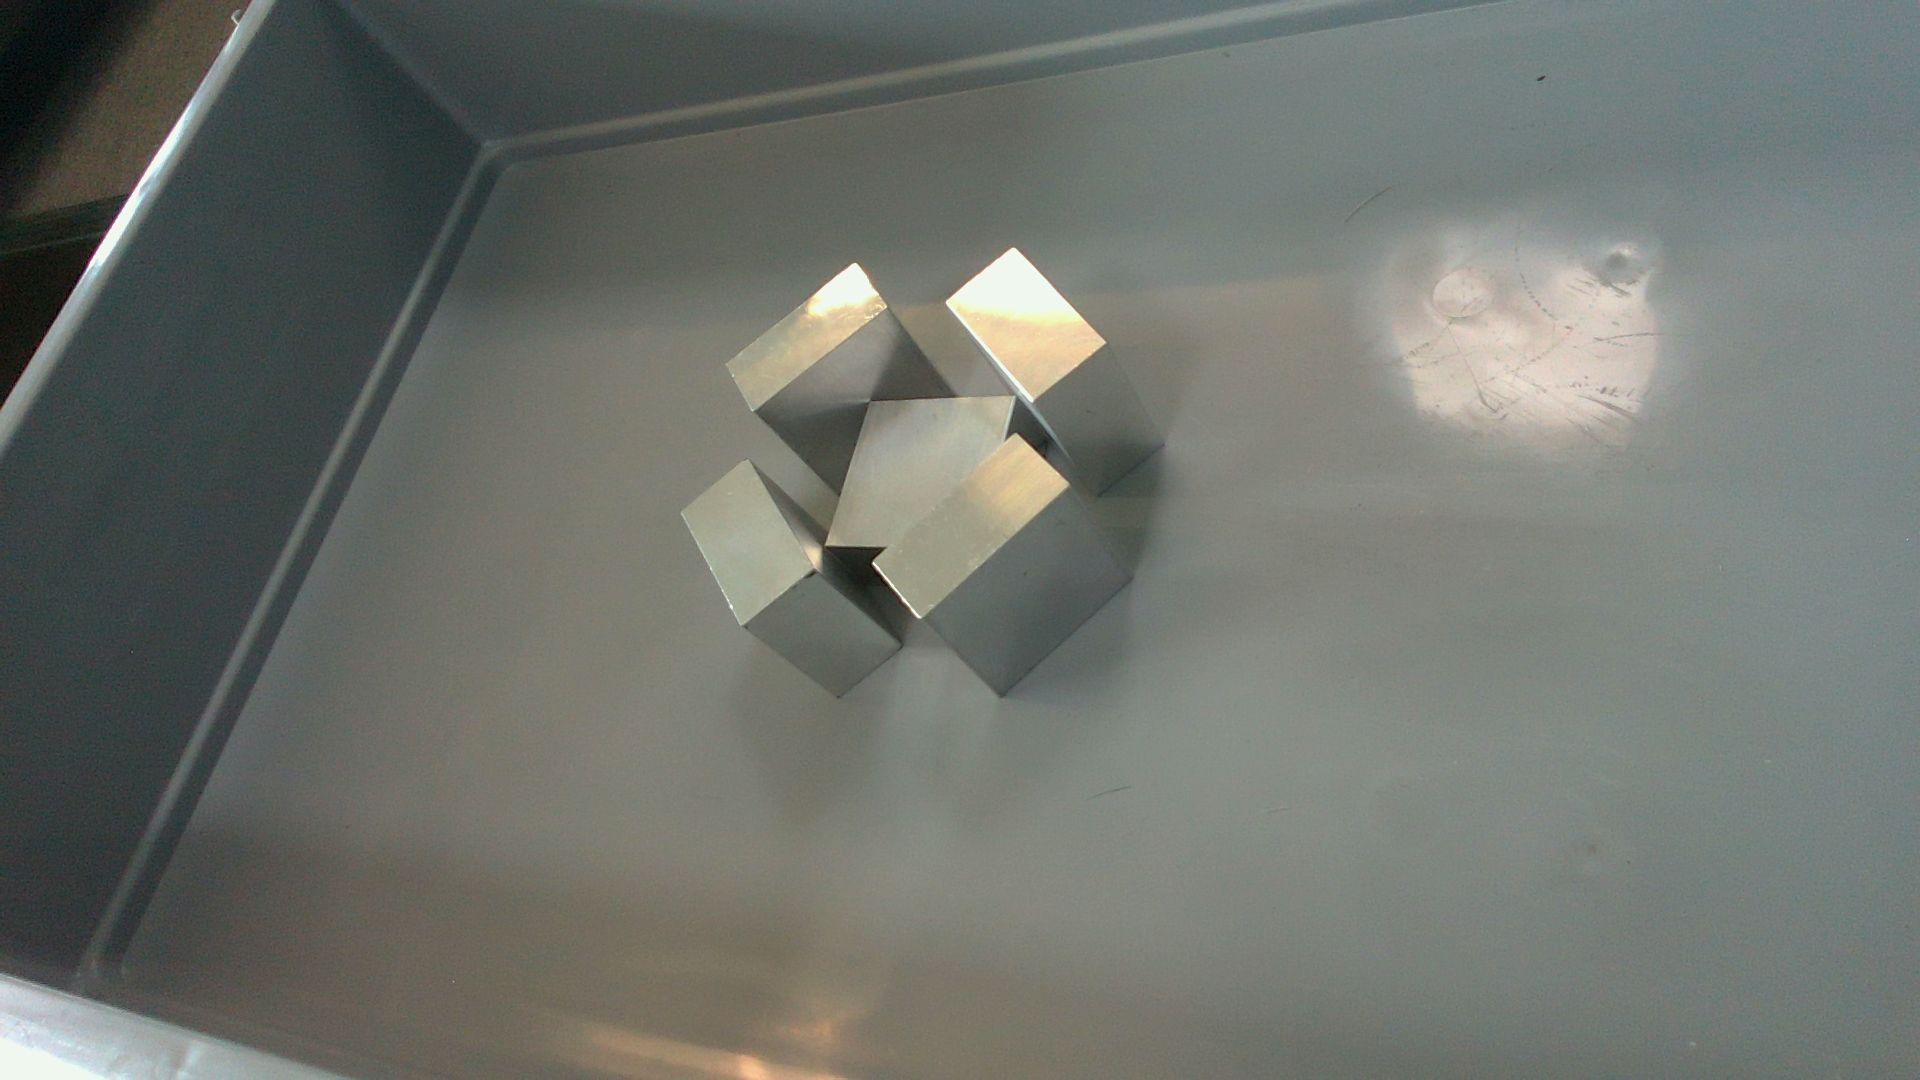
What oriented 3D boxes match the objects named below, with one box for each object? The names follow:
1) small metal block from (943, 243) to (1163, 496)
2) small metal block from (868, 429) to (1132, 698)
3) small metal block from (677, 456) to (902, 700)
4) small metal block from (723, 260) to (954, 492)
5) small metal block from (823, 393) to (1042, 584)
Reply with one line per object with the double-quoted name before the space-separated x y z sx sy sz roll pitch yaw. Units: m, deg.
"small metal block" 0.027 -0.048 0.390 0.025 0.050 0.050 -38 52 2
"small metal block" 0.012 0.007 0.364 0.050 0.050 0.025 -42 51 -1
"small metal block" -0.049 0.011 0.395 0.025 0.050 0.050 -39 50 3
"small metal block" -0.036 -0.049 0.425 0.050 0.050 0.025 -37 50 5
"small metal block" -0.007 -0.015 0.404 0.050 0.025 0.050 1 62 29
